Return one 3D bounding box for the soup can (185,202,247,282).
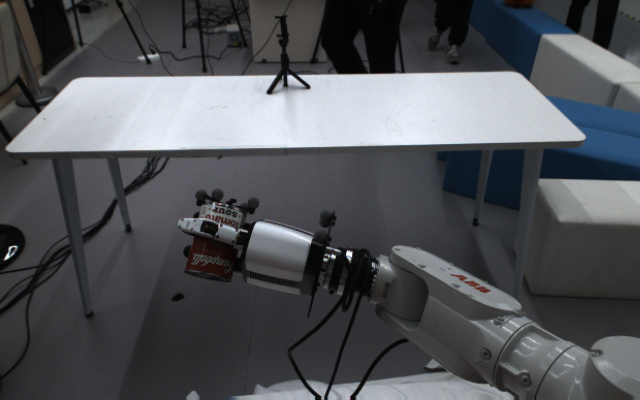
[{"bbox_3d":[-0.148,0.062,0.690,0.067,0.067,0.101,8,72,8],"label":"soup can"}]
